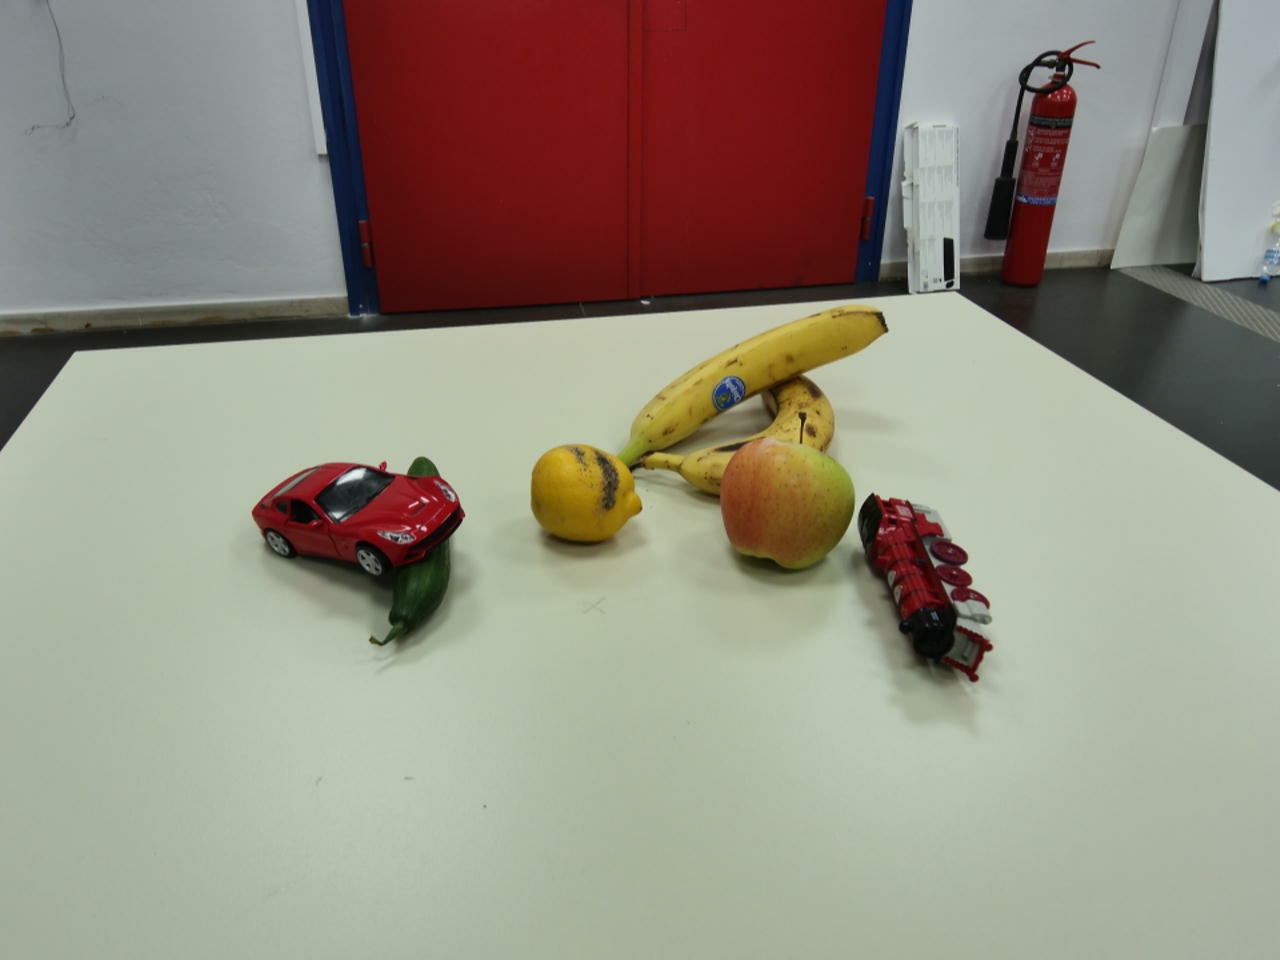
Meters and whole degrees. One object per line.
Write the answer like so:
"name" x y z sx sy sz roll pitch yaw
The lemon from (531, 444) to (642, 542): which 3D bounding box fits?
"lemon" -0.034 0.008 0.583 0.061 0.056 0.058 -9 28 -18
